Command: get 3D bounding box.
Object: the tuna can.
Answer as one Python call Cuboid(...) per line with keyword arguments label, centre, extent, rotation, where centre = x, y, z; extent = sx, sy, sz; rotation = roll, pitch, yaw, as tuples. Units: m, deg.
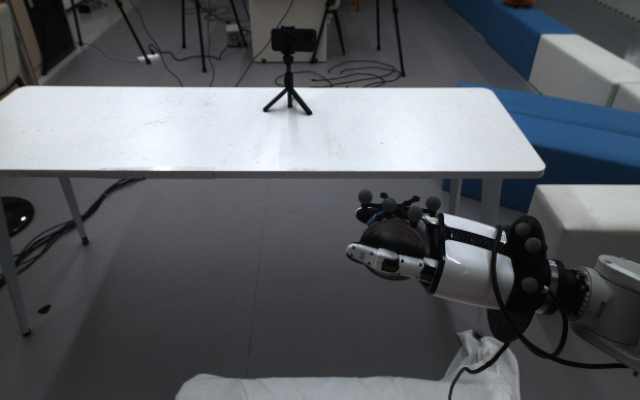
Cuboid(label="tuna can", centre=(0.094, 0.053, 0.597), extent=(0.085, 0.085, 0.034), rotation=(9, 24, 10))
